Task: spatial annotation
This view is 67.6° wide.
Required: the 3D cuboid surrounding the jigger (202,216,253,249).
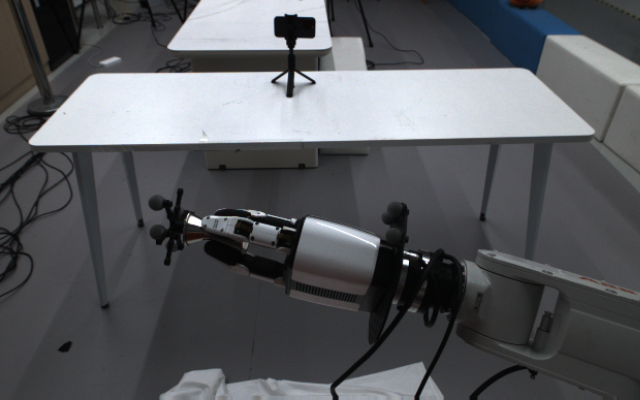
[{"bbox_3d":[-0.108,0.033,0.554,0.071,0.043,0.043,6,35,2],"label":"jigger"}]
